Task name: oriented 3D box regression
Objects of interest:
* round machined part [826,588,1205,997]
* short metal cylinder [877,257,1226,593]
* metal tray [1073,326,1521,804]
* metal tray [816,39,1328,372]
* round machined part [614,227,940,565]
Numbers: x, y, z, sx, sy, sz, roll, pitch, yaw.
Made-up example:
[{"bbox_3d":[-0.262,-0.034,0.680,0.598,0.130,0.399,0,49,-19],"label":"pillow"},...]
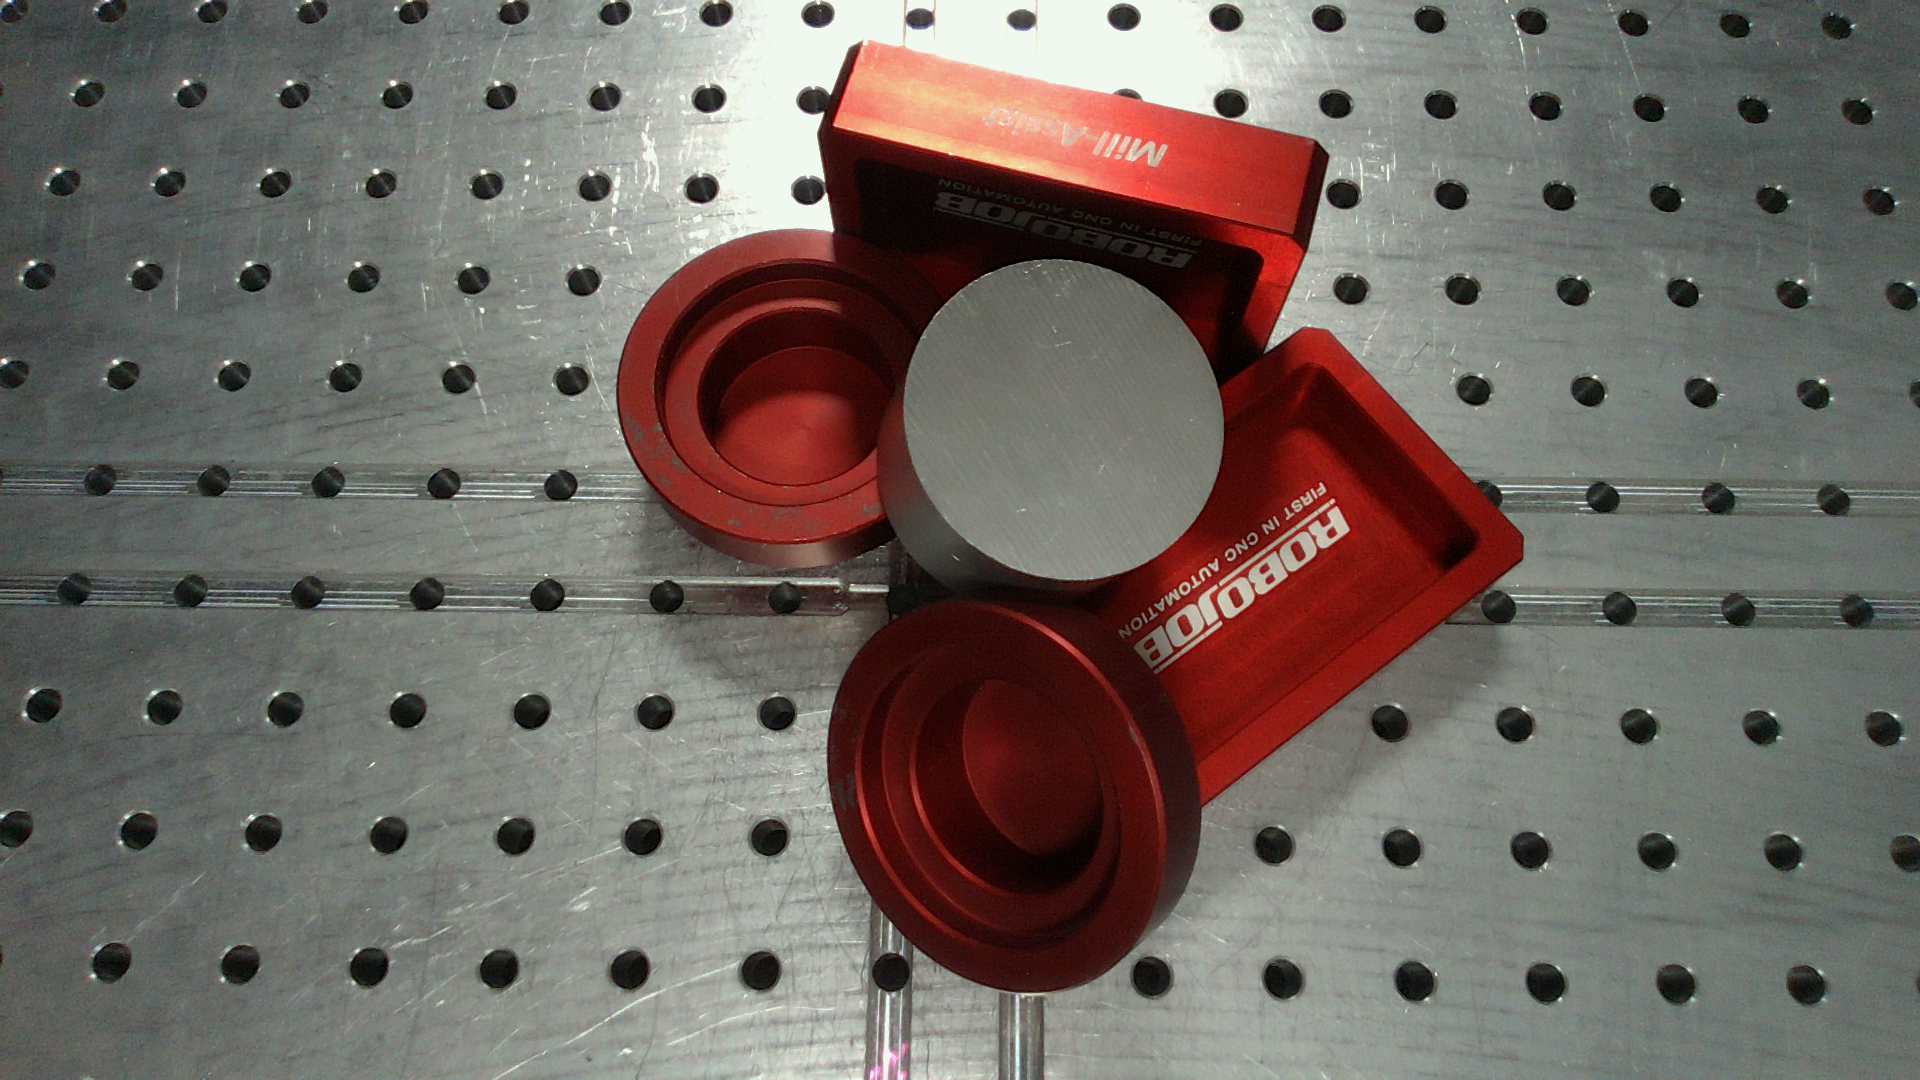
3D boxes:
[{"bbox_3d":[0.017,0.060,0.348,0.098,0.042,0.098,7,103,33],"label":"round machined part"},{"bbox_3d":[0.021,-0.025,0.353,0.080,0.050,0.080,2,78,-12],"label":"short metal cylinder"},{"bbox_3d":[0.079,0.010,0.390,0.130,0.030,0.090,-35,74,-12],"label":"metal tray"},{"bbox_3d":[0.029,-0.089,0.395,0.130,0.090,0.030,14,71,5],"label":"metal tray"},{"bbox_3d":[-0.047,-0.038,0.402,0.098,0.042,0.098,0,70,0],"label":"round machined part"}]
